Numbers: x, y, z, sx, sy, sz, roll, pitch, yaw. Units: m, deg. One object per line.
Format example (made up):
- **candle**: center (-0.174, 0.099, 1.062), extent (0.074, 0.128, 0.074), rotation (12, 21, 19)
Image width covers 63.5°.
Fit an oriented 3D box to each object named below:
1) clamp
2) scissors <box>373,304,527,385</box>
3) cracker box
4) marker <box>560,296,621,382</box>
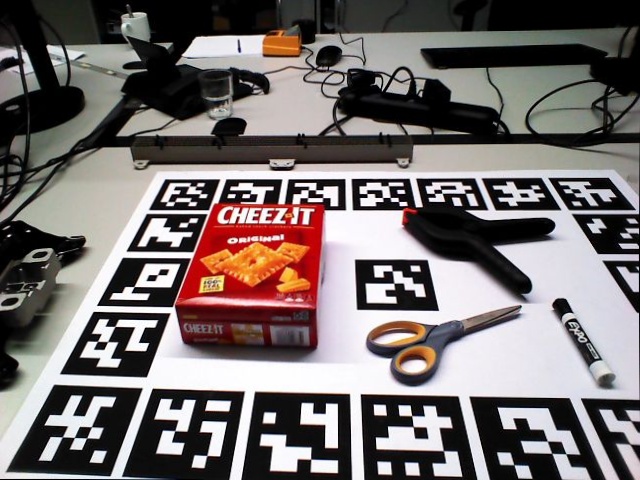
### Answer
- **clamp**: center (0.218, -0.002, 0.746), extent (0.204, 0.037, 0.164), rotation (20, 40, 27)
- **scissors**: center (0.158, 0.104, 0.596), extent (0.202, 0.016, 0.088), rotation (-16, 37, -21)
- **cracker box**: center (-0.071, 0.036, 0.662), extent (0.165, 0.072, 0.212), rotation (1, 36, 5)
- **marker**: center (0.300, 0.106, 0.581), extent (0.020, 0.020, 0.120), rotation (-2, 35, 1)
